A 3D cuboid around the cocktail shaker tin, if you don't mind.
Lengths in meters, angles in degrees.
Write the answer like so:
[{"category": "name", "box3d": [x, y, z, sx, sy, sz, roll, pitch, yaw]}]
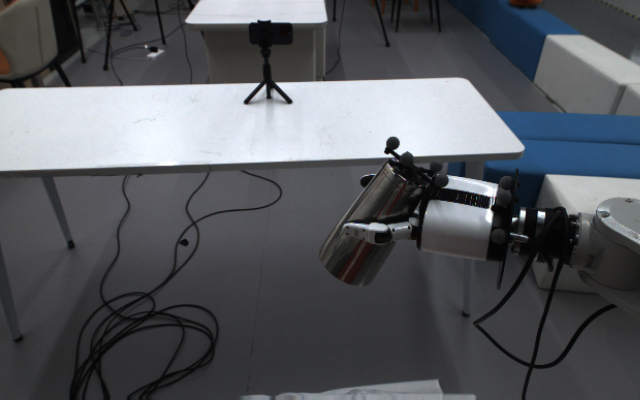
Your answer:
[{"category": "cocktail shaker tin", "box3d": [0.079, 0.024, 0.679, 0.093, 0.170, 0.093, 25, 29, -15]}]
